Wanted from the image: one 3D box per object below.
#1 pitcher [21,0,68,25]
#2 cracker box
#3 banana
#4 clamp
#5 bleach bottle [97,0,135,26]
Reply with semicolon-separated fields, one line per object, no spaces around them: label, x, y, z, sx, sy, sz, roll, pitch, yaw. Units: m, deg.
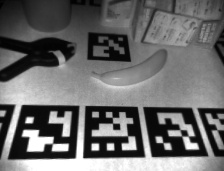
pitcher;-0.166;-0.261;0.471;0.190;0.243;0.132;-12;51;-20
cracker box;0.171;-0.192;0.527;0.214;0.165;0.071;2;47;-4
banana;0.057;-0.048;0.499;0.199;0.039;0.073;-26;58;-27
clamp;-0.162;-0.080;0.481;0.166;0.036;0.120;-10;51;-19
bleach bottle;0.018;-0.272;0.535;0.103;0.251;0.067;1;49;-6
